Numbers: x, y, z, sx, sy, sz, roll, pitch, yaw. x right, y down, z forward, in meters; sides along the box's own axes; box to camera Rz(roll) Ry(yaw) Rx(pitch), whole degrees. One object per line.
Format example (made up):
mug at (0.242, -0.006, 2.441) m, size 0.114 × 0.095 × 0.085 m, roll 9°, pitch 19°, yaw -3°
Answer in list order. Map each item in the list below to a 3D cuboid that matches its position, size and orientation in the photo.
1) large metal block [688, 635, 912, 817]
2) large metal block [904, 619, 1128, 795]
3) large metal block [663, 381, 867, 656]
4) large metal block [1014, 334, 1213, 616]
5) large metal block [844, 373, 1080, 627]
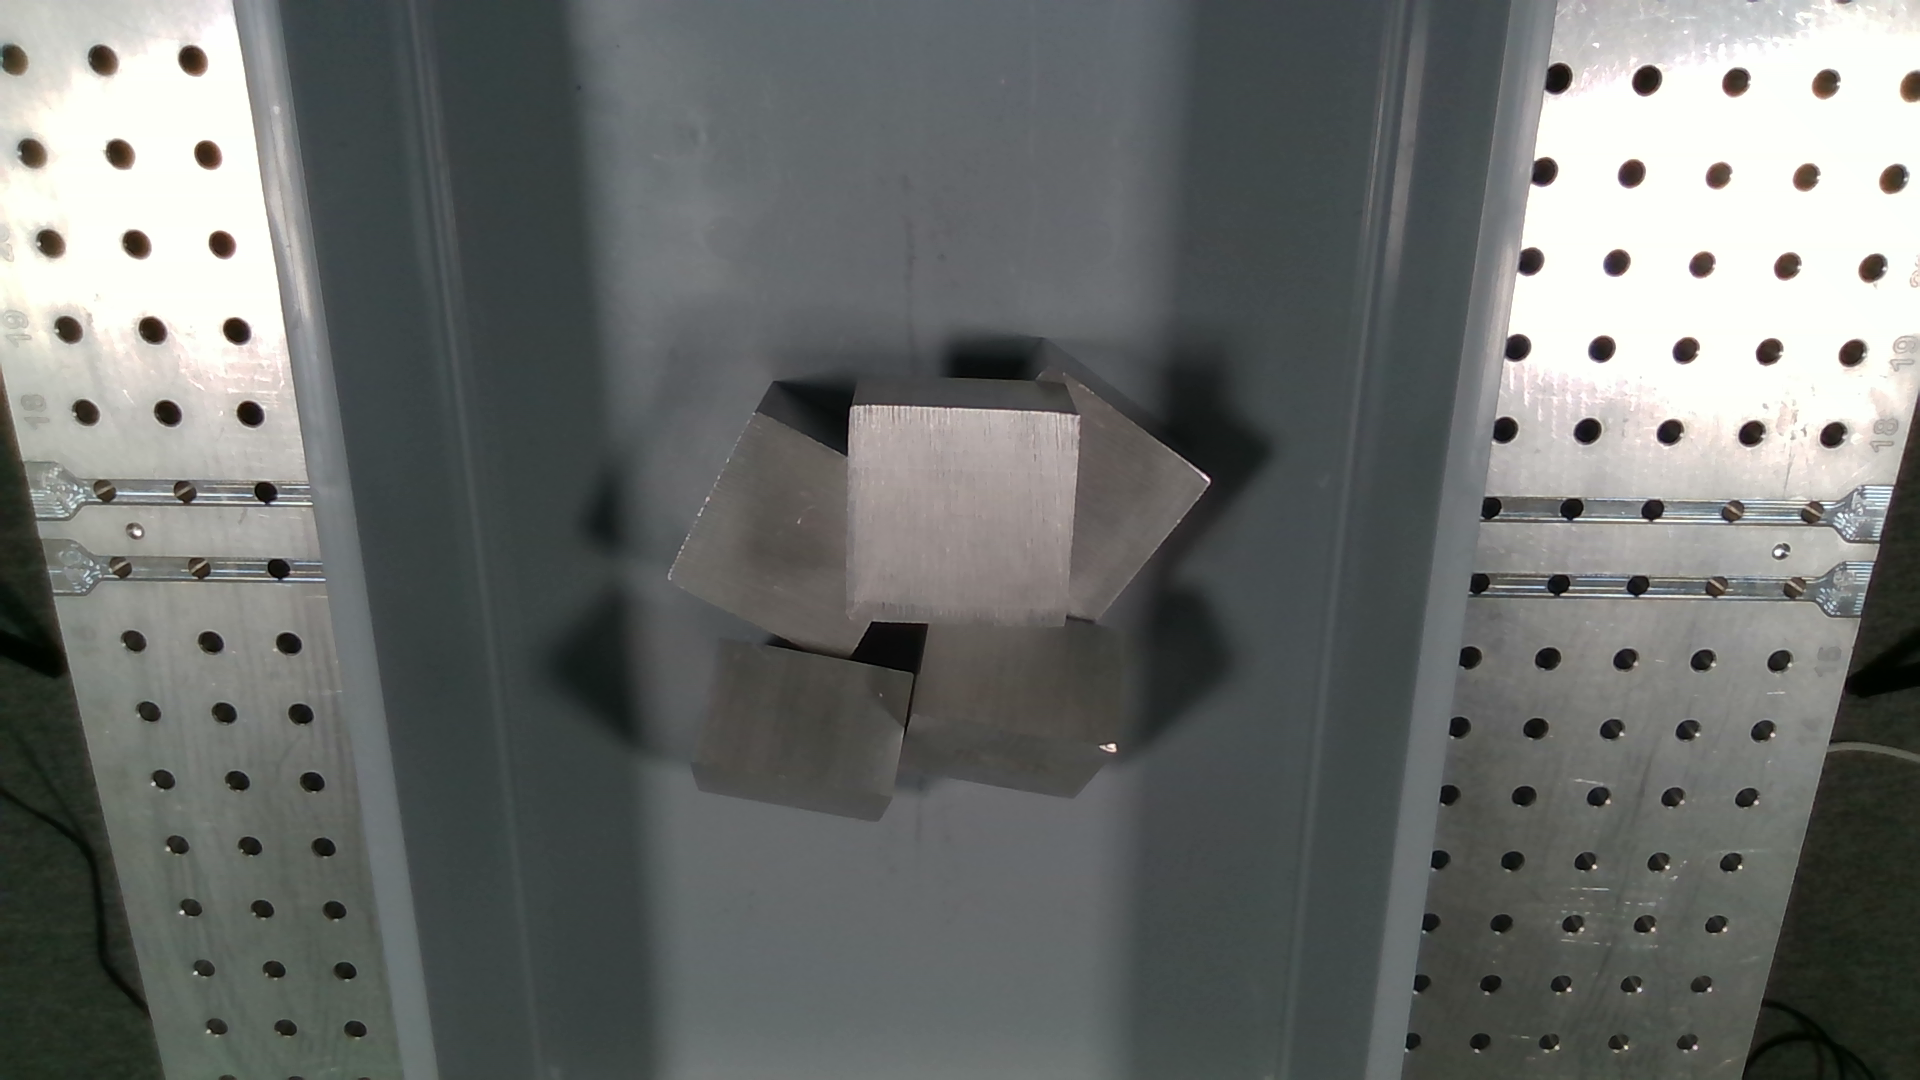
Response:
large metal block at (-0.067, 0.081, 0.577) m, size 0.080 × 0.080 × 0.050 m, roll 11°, pitch 70°, yaw -4°
large metal block at (0.019, 0.067, 0.572) m, size 0.080 × 0.050 × 0.080 m, roll 10°, pitch 155°, yaw -4°
large metal block at (-0.063, -0.008, 0.564) m, size 0.080 × 0.050 × 0.080 m, roll 28°, pitch 108°, yaw -10°
large metal block at (0.043, -0.024, 0.562) m, size 0.080 × 0.050 × 0.080 m, roll 34°, pitch 107°, yaw -12°
large metal block at (-0.001, -0.016, 0.510) m, size 0.080 × 0.050 × 0.080 m, roll 2°, pitch 109°, yaw -2°
